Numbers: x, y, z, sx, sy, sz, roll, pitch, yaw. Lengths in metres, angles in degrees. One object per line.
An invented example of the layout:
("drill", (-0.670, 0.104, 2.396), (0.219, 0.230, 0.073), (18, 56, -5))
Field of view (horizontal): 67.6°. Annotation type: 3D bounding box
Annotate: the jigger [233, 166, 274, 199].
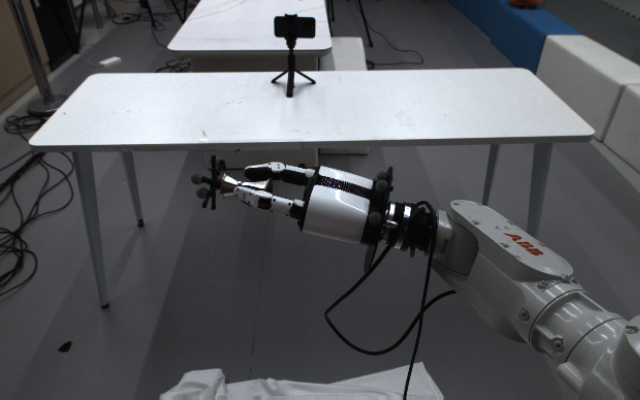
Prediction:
("jigger", (-0.100, -0.022, 0.716), (0.071, 0.043, 0.043), (8, 35, 6))
